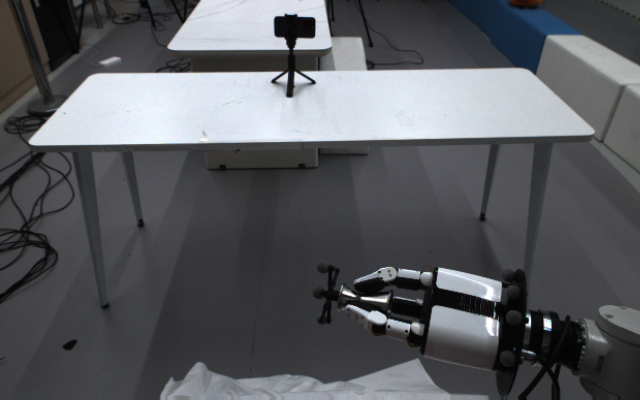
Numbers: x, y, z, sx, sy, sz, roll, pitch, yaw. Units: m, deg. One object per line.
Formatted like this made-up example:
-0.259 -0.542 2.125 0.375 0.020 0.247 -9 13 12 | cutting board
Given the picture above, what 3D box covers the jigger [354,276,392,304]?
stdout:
0.069 0.134 0.658 0.071 0.043 0.043 7 35 16 | jigger
